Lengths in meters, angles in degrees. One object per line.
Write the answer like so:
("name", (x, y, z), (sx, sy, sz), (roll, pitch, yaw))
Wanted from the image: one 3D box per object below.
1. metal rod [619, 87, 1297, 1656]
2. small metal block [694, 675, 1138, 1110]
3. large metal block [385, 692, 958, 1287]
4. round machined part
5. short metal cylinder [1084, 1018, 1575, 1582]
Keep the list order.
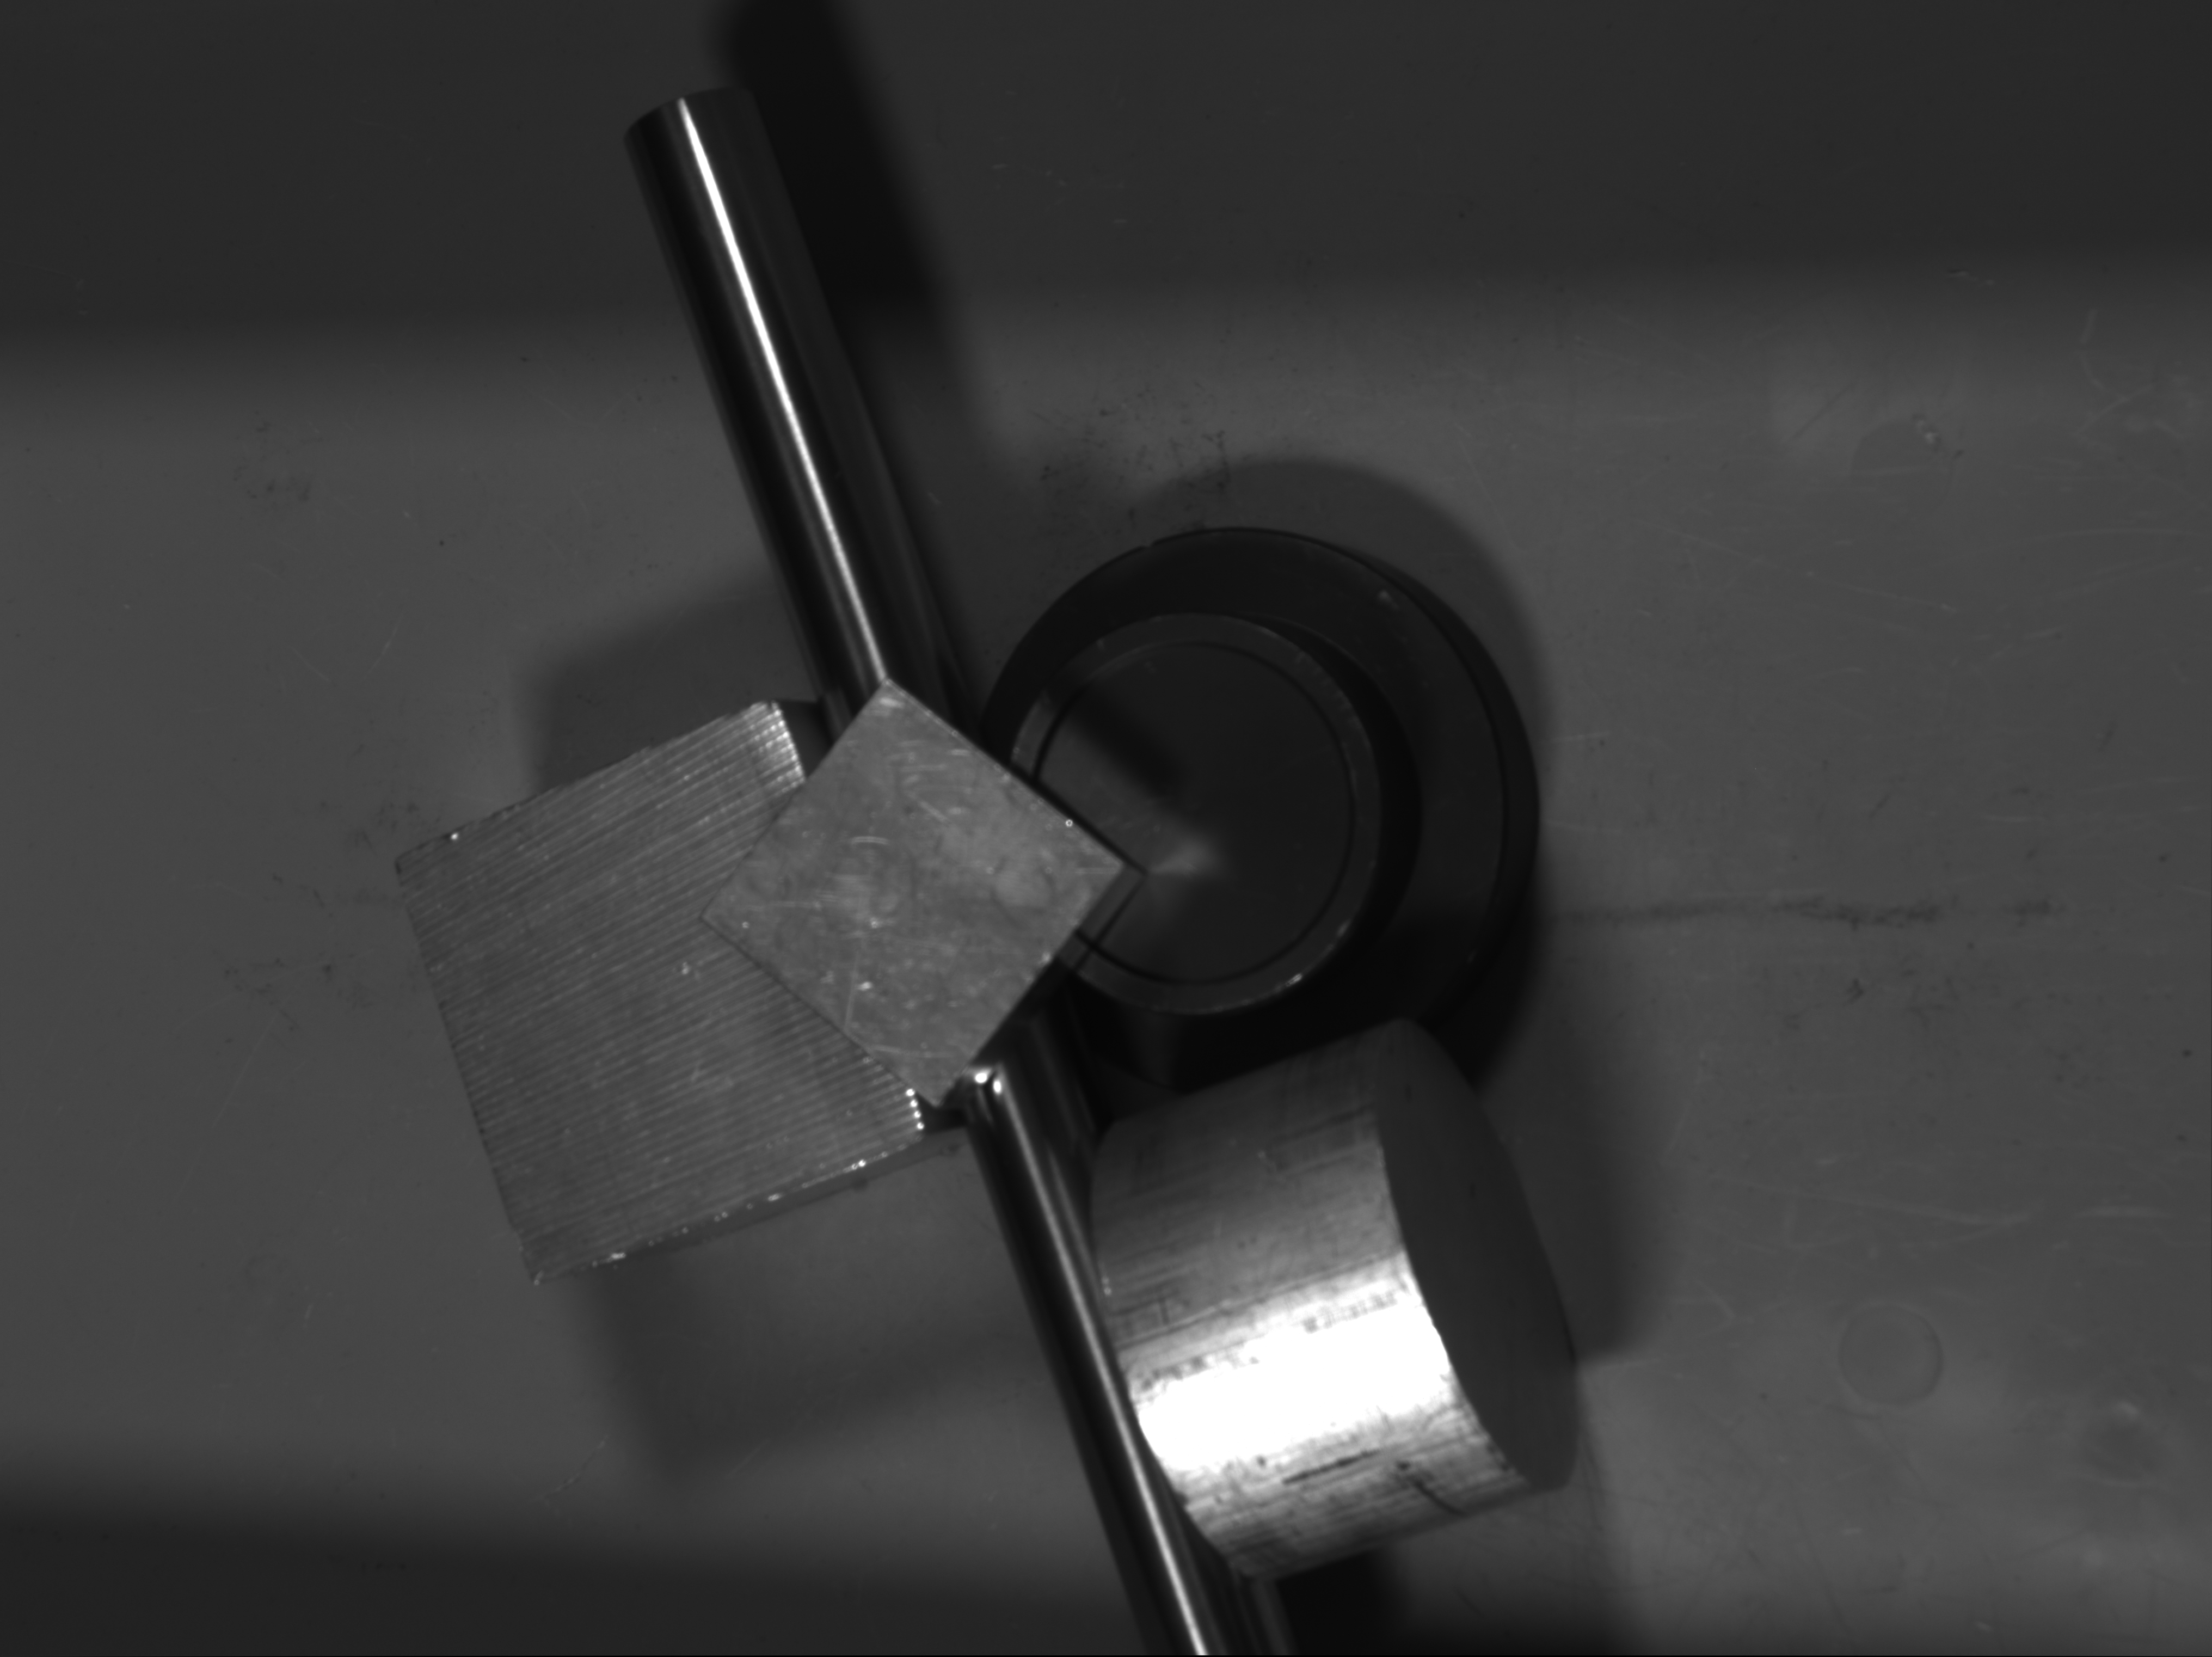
("metal rod", (-0.025, 0.015, 0.630), (0.025, 0.025, 0.300), (-22, 83, 18))
("small metal block", (-0.030, 0.011, 0.603), (0.050, 0.025, 0.050), (38, 91, 9))
("large metal block", (-0.070, 0.028, 0.652), (0.080, 0.050, 0.080), (-22, 83, 18))
("round machined part", (0.020, -0.003, 0.626), (0.098, 0.042, 0.098), (0, 90, 20))
("short metal cylinder", (0.037, 0.077, 0.600), (0.050, 0.080, 0.080), (-22, 83, 18))
